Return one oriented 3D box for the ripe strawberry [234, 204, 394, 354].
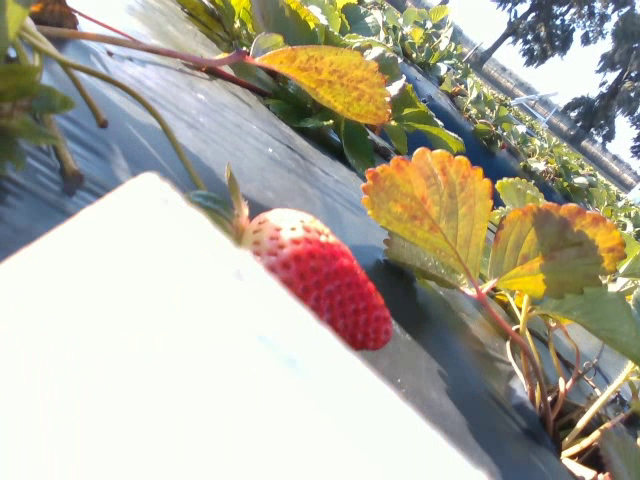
[{"bbox_3d":[0.000,0.014,0.167,0.063,0.045,0.044,31,-19,0],"label":"ripe strawberry"}]
